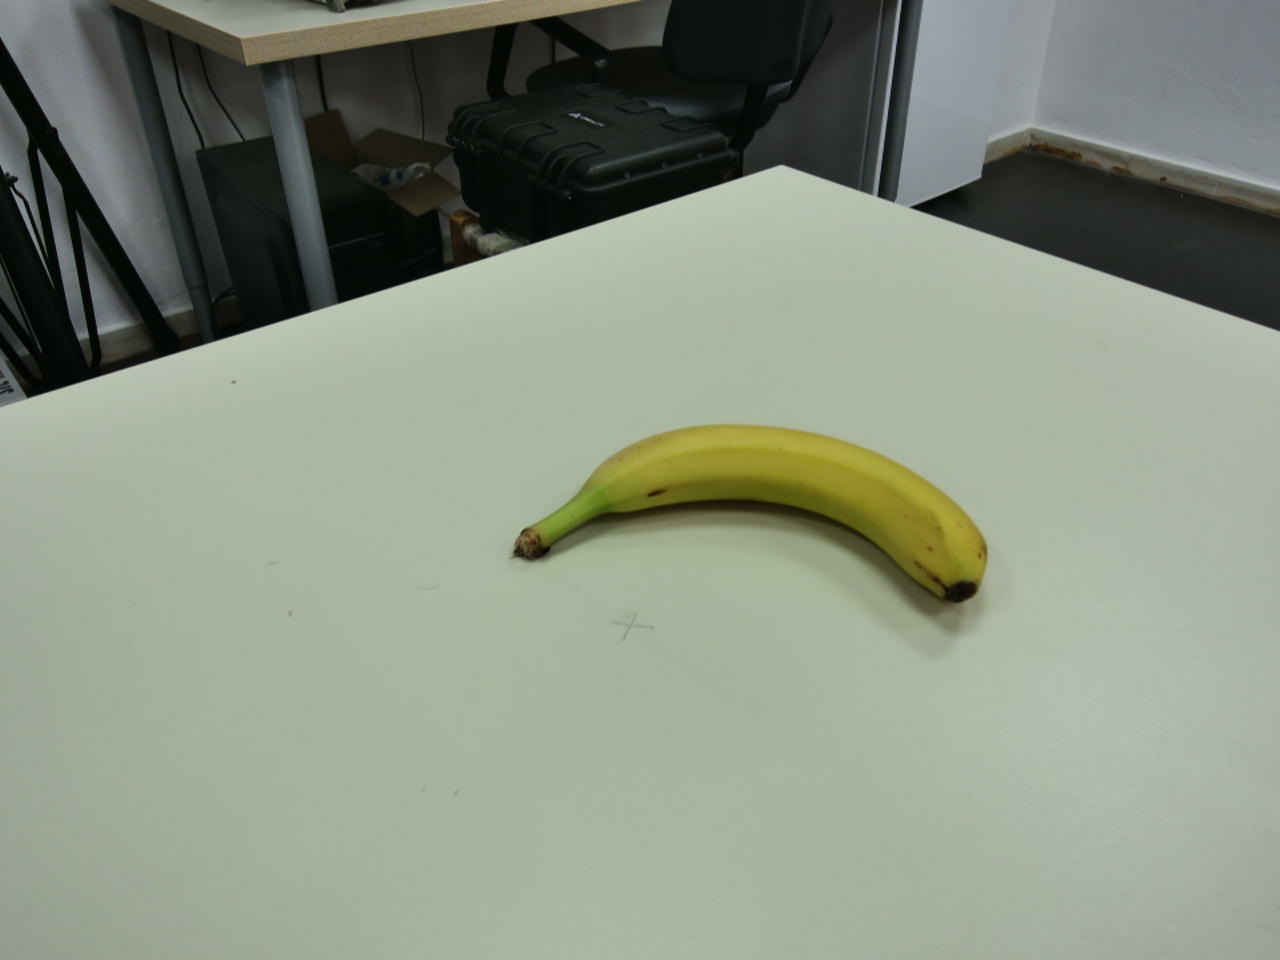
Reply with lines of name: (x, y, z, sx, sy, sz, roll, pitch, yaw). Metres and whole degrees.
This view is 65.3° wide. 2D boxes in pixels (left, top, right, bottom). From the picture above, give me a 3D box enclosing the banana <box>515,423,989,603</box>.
banana: (0.050, 0.008, 0.447, 0.196, 0.041, 0.094, 9, 36, 14)
